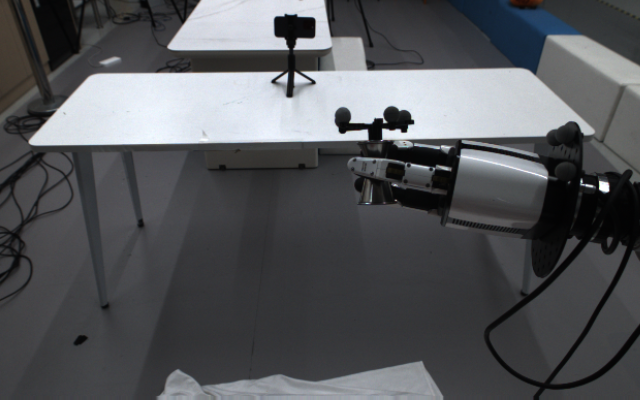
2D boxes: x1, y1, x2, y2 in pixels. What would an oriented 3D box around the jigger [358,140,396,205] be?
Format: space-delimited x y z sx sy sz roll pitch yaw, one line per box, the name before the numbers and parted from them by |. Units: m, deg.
jigger | 0.061 -0.029 0.531 0.043 0.071 0.043 -2 3 0
